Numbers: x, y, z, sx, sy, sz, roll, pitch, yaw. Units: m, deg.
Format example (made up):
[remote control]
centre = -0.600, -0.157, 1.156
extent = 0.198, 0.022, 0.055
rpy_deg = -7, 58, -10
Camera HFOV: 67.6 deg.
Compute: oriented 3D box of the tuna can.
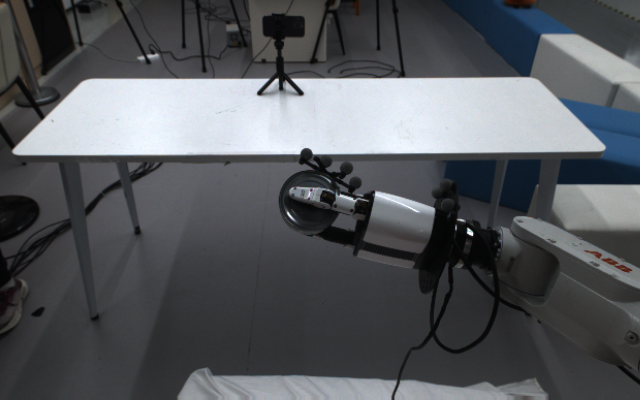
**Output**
[tuna can]
centre = -0.013, 0.004, 0.666
extent = 0.085, 0.034, 0.085
rpy_deg = 1, 75, -4
